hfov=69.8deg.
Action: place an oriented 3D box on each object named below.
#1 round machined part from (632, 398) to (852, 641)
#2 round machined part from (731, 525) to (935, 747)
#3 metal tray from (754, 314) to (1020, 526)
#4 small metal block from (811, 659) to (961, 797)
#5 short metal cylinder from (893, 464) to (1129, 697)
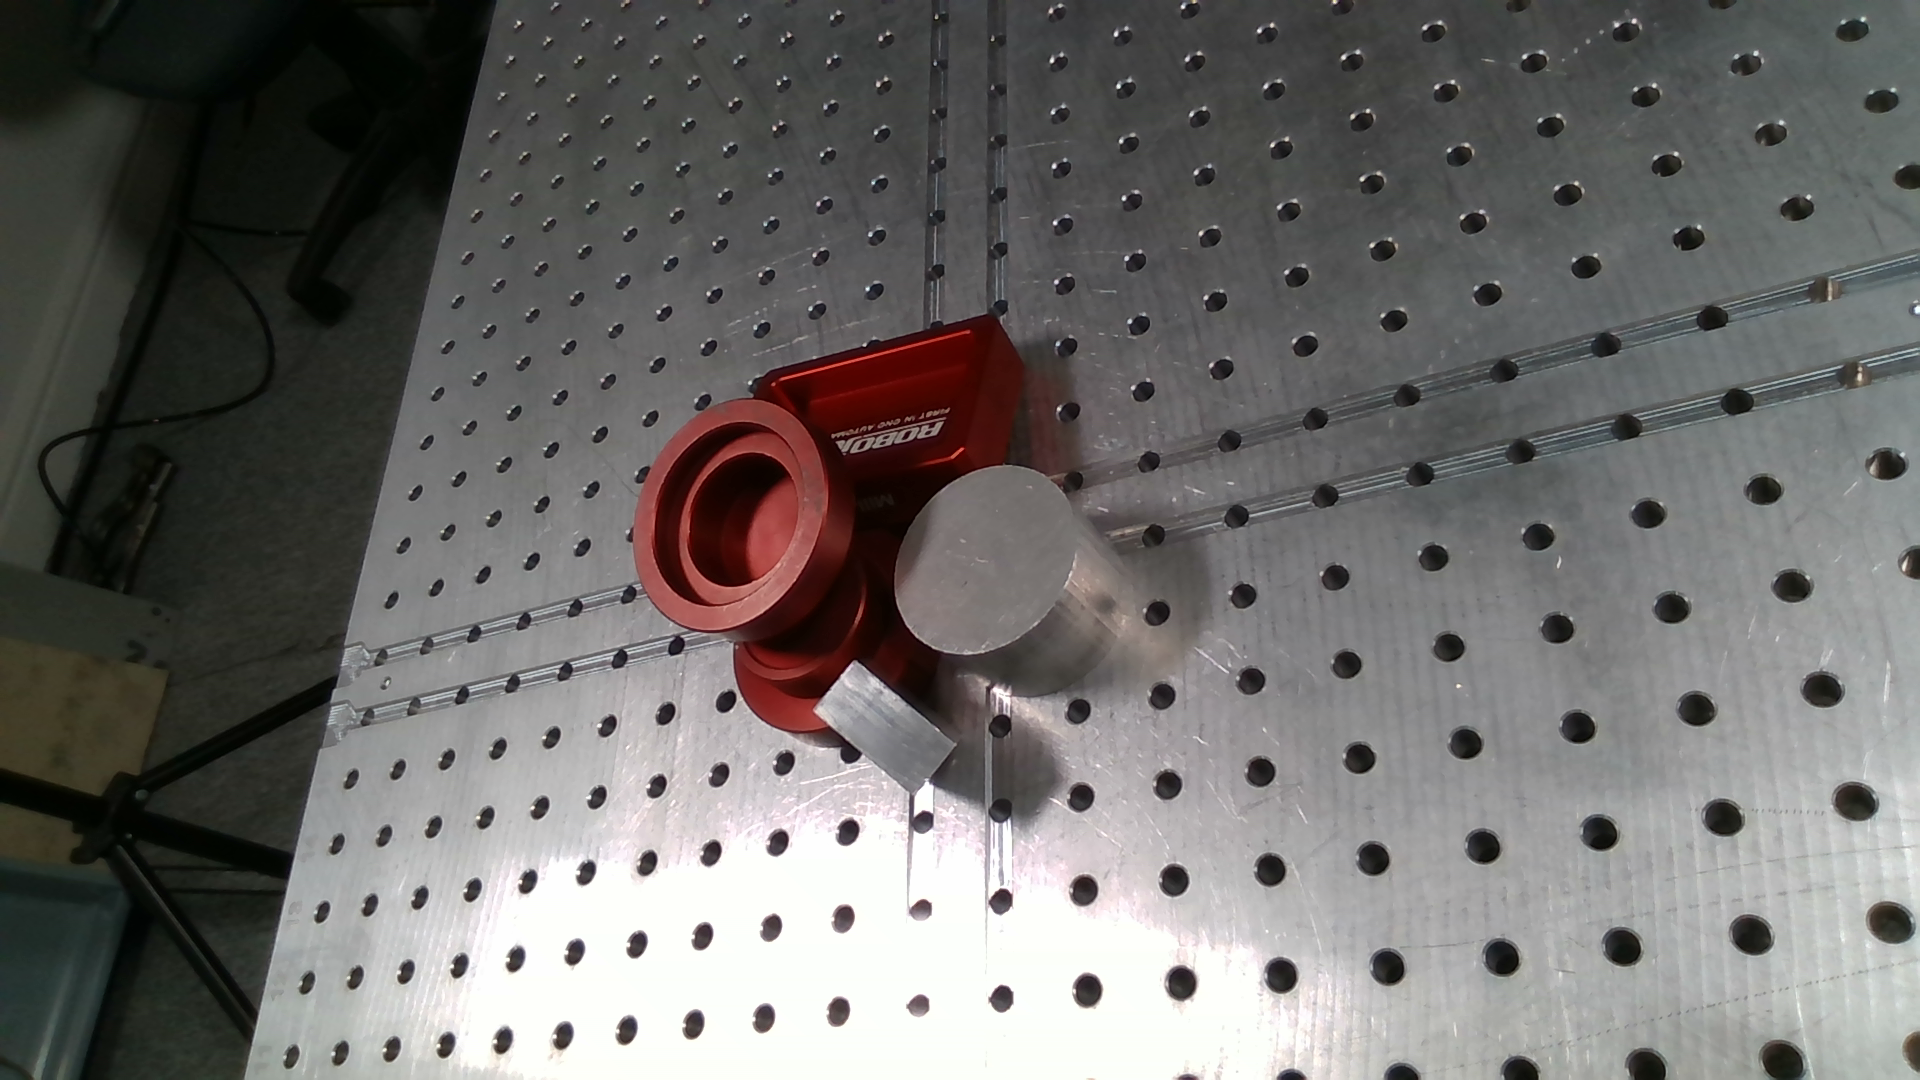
[{"bbox_3d":[-0.085,-0.006,0.572,0.098,0.042,0.098,-9,72,28],"label":"round machined part"},{"bbox_3d":[-0.060,0.036,0.594,0.098,0.042,0.098,-14,59,25],"label":"round machined part"},{"bbox_3d":[-0.042,-0.049,0.623,0.130,0.030,0.090,-10,46,27],"label":"metal tray"},{"bbox_3d":[-0.027,0.072,0.539,0.050,0.050,0.025,39,89,4],"label":"small metal block"},{"bbox_3d":[0.021,0.017,0.550,0.080,0.050,0.080,-14,59,25],"label":"short metal cylinder"}]
